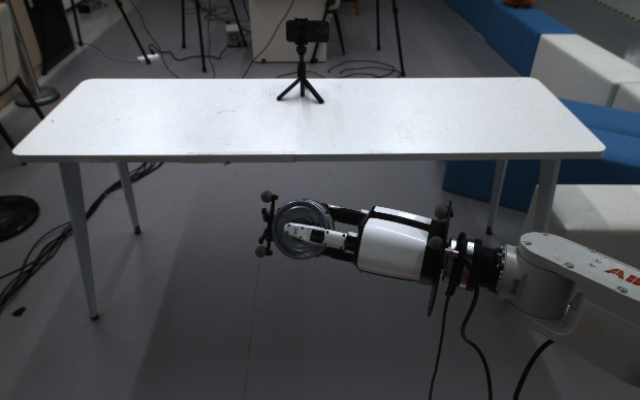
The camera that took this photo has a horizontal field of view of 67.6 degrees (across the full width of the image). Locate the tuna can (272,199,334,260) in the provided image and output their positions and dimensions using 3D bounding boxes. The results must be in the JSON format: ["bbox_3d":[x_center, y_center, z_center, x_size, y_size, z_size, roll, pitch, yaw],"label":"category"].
[{"bbox_3d":[-0.023,0.040,0.684,0.085,0.085,0.034,10,2,12],"label":"tuna can"}]
